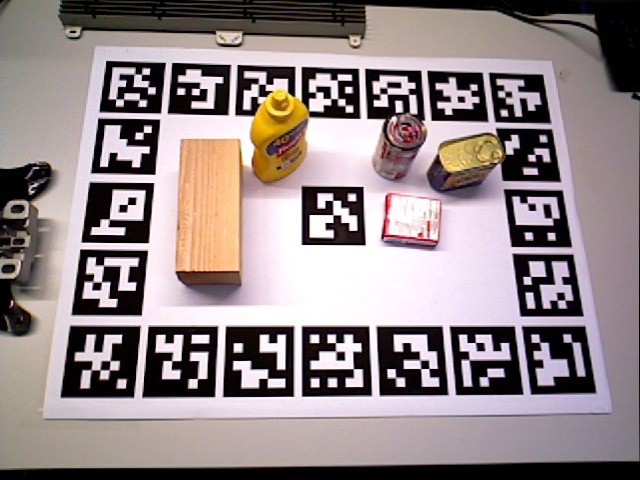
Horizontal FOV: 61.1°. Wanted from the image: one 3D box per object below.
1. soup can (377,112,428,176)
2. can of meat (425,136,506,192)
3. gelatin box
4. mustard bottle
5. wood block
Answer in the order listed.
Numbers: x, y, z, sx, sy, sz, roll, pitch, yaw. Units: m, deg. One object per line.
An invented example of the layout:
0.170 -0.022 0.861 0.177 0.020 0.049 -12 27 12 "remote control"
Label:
0.128 -0.149 0.832 0.067 0.103 0.067 1 73 -4 "soup can"
0.223 -0.121 0.849 0.101 0.085 0.057 -12 73 -11 "can of meat"
0.147 -0.025 0.837 0.089 0.030 0.073 10 74 2 "gelatin box"
-0.062 -0.155 0.789 0.095 0.194 0.058 -24 74 -14 "mustard bottle"
-0.162 -0.041 0.796 0.090 0.091 0.204 2 68 -5 "wood block"
